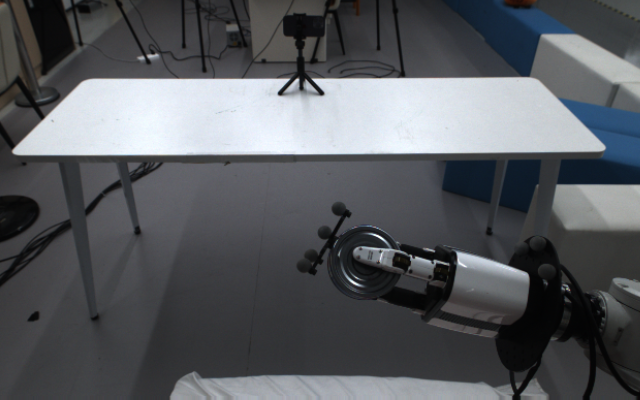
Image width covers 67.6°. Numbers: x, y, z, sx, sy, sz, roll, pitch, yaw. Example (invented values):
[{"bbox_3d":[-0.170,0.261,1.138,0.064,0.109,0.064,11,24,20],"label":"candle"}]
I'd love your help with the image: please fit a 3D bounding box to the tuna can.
[{"bbox_3d":[0.056,0.071,0.565,0.085,0.034,0.085,1,75,-5],"label":"tuna can"}]
